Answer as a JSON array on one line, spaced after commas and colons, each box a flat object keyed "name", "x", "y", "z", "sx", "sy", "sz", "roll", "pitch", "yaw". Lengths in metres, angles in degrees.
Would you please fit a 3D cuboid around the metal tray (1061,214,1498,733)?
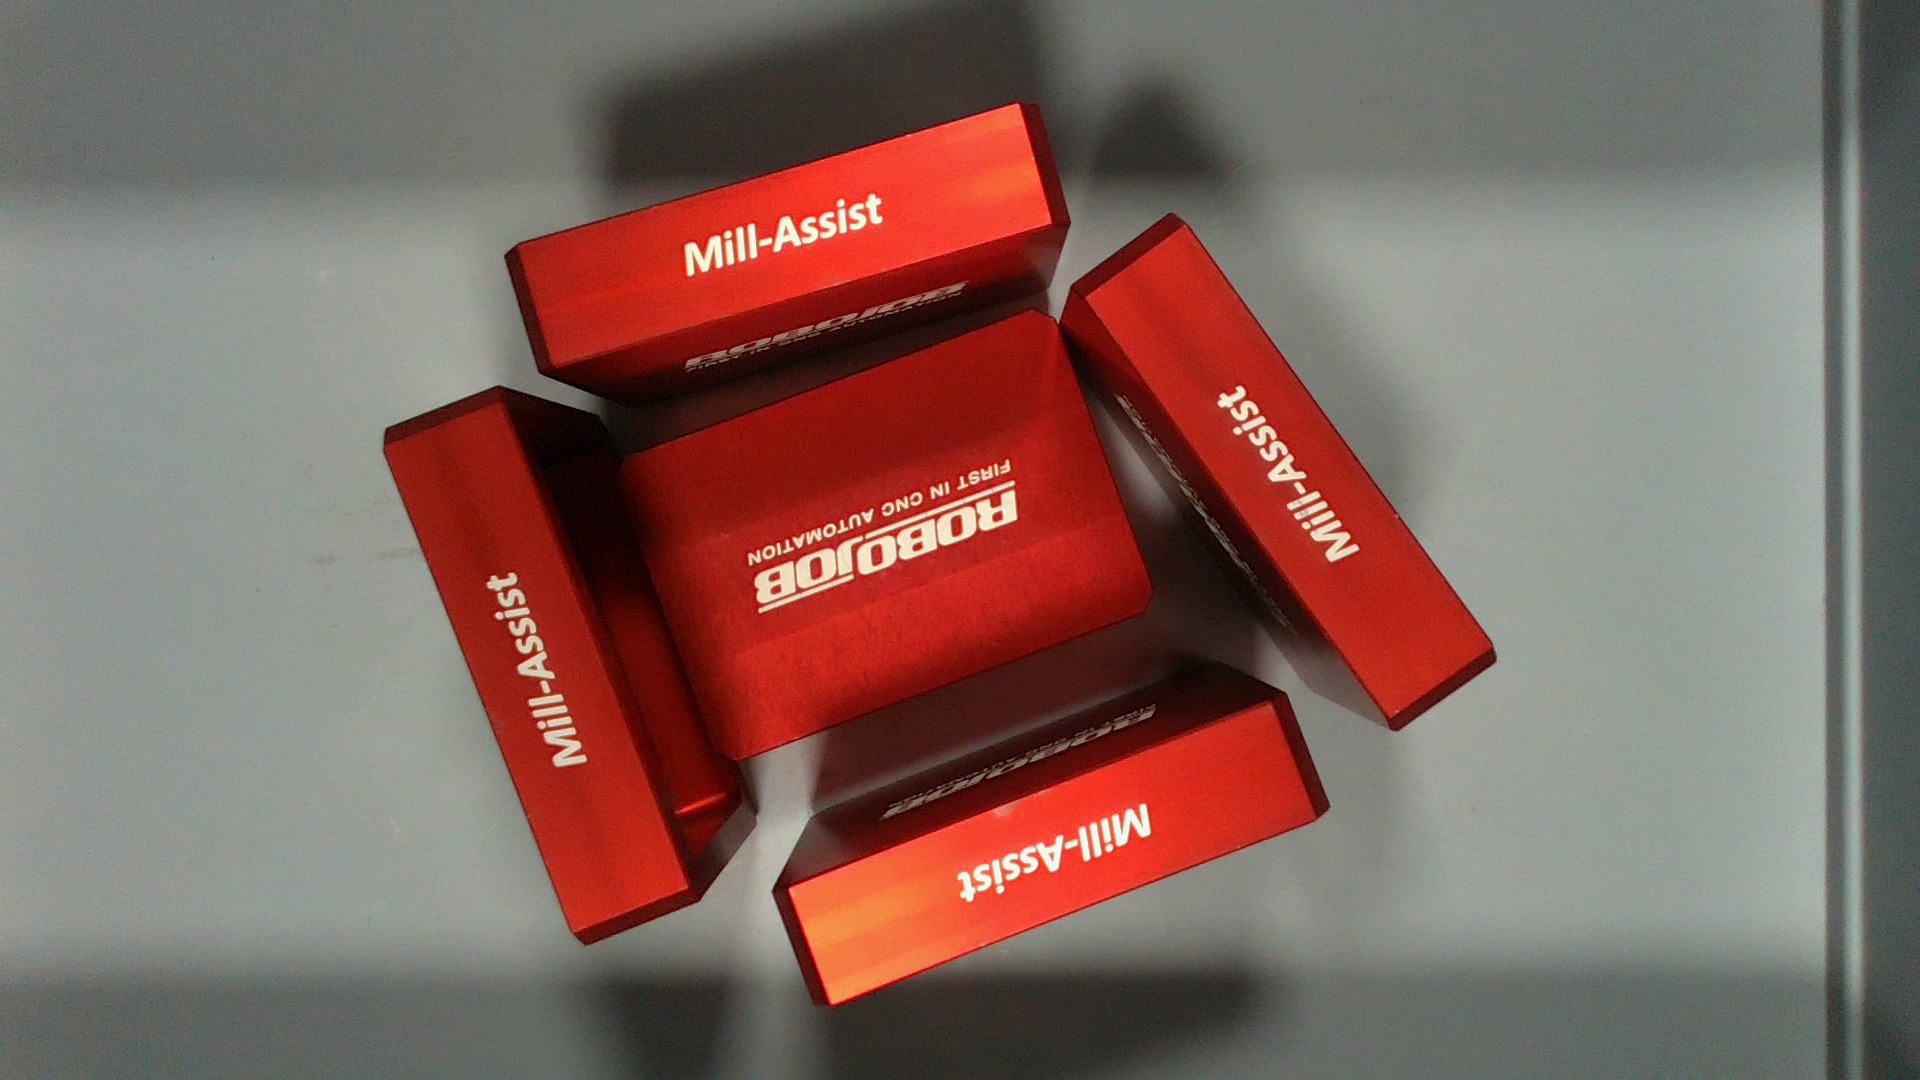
[{"name": "metal tray", "x": 0.077, "y": -0.016, "z": 0.362, "sx": 0.030, "sy": 0.090, "sz": 0.130, "roll": -36, "pitch": 90, "yaw": 1}]

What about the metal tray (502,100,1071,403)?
[{"name": "metal tray", "x": -0.040, "y": -0.071, "z": 0.361, "sx": 0.130, "sy": 0.090, "sz": 0.030, "roll": -16, "pitch": 90, "yaw": 0}]

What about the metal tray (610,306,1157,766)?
[{"name": "metal tray", "x": -0.021, "y": -0.001, "z": 0.390, "sx": 0.130, "sy": 0.030, "sz": 0.090, "roll": -20, "pitch": 90, "yaw": 0}]

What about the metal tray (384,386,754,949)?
[{"name": "metal tray", "x": -0.097, "y": 0.030, "z": 0.361, "sx": 0.030, "sy": 0.090, "sz": 0.130, "roll": -21, "pitch": 90, "yaw": 0}]

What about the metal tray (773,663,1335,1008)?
[{"name": "metal tray", "x": 0.022, "y": 0.073, "z": 0.362, "sx": 0.130, "sy": 0.090, "sz": 0.030, "roll": -21, "pitch": 90, "yaw": 0}]
